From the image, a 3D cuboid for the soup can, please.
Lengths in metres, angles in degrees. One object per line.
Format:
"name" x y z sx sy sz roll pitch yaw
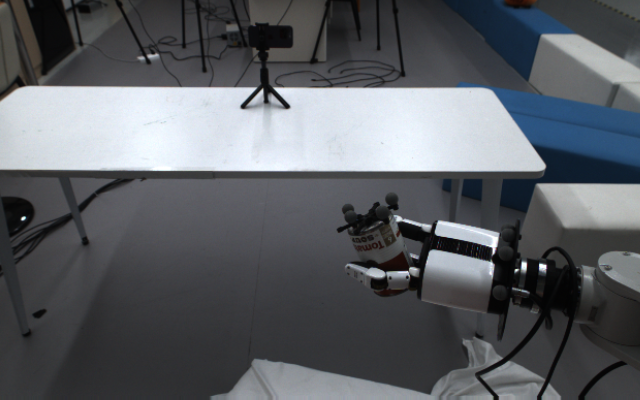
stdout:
"soup can" 0.089 0.071 0.666 0.067 0.101 0.067 -23 16 7
